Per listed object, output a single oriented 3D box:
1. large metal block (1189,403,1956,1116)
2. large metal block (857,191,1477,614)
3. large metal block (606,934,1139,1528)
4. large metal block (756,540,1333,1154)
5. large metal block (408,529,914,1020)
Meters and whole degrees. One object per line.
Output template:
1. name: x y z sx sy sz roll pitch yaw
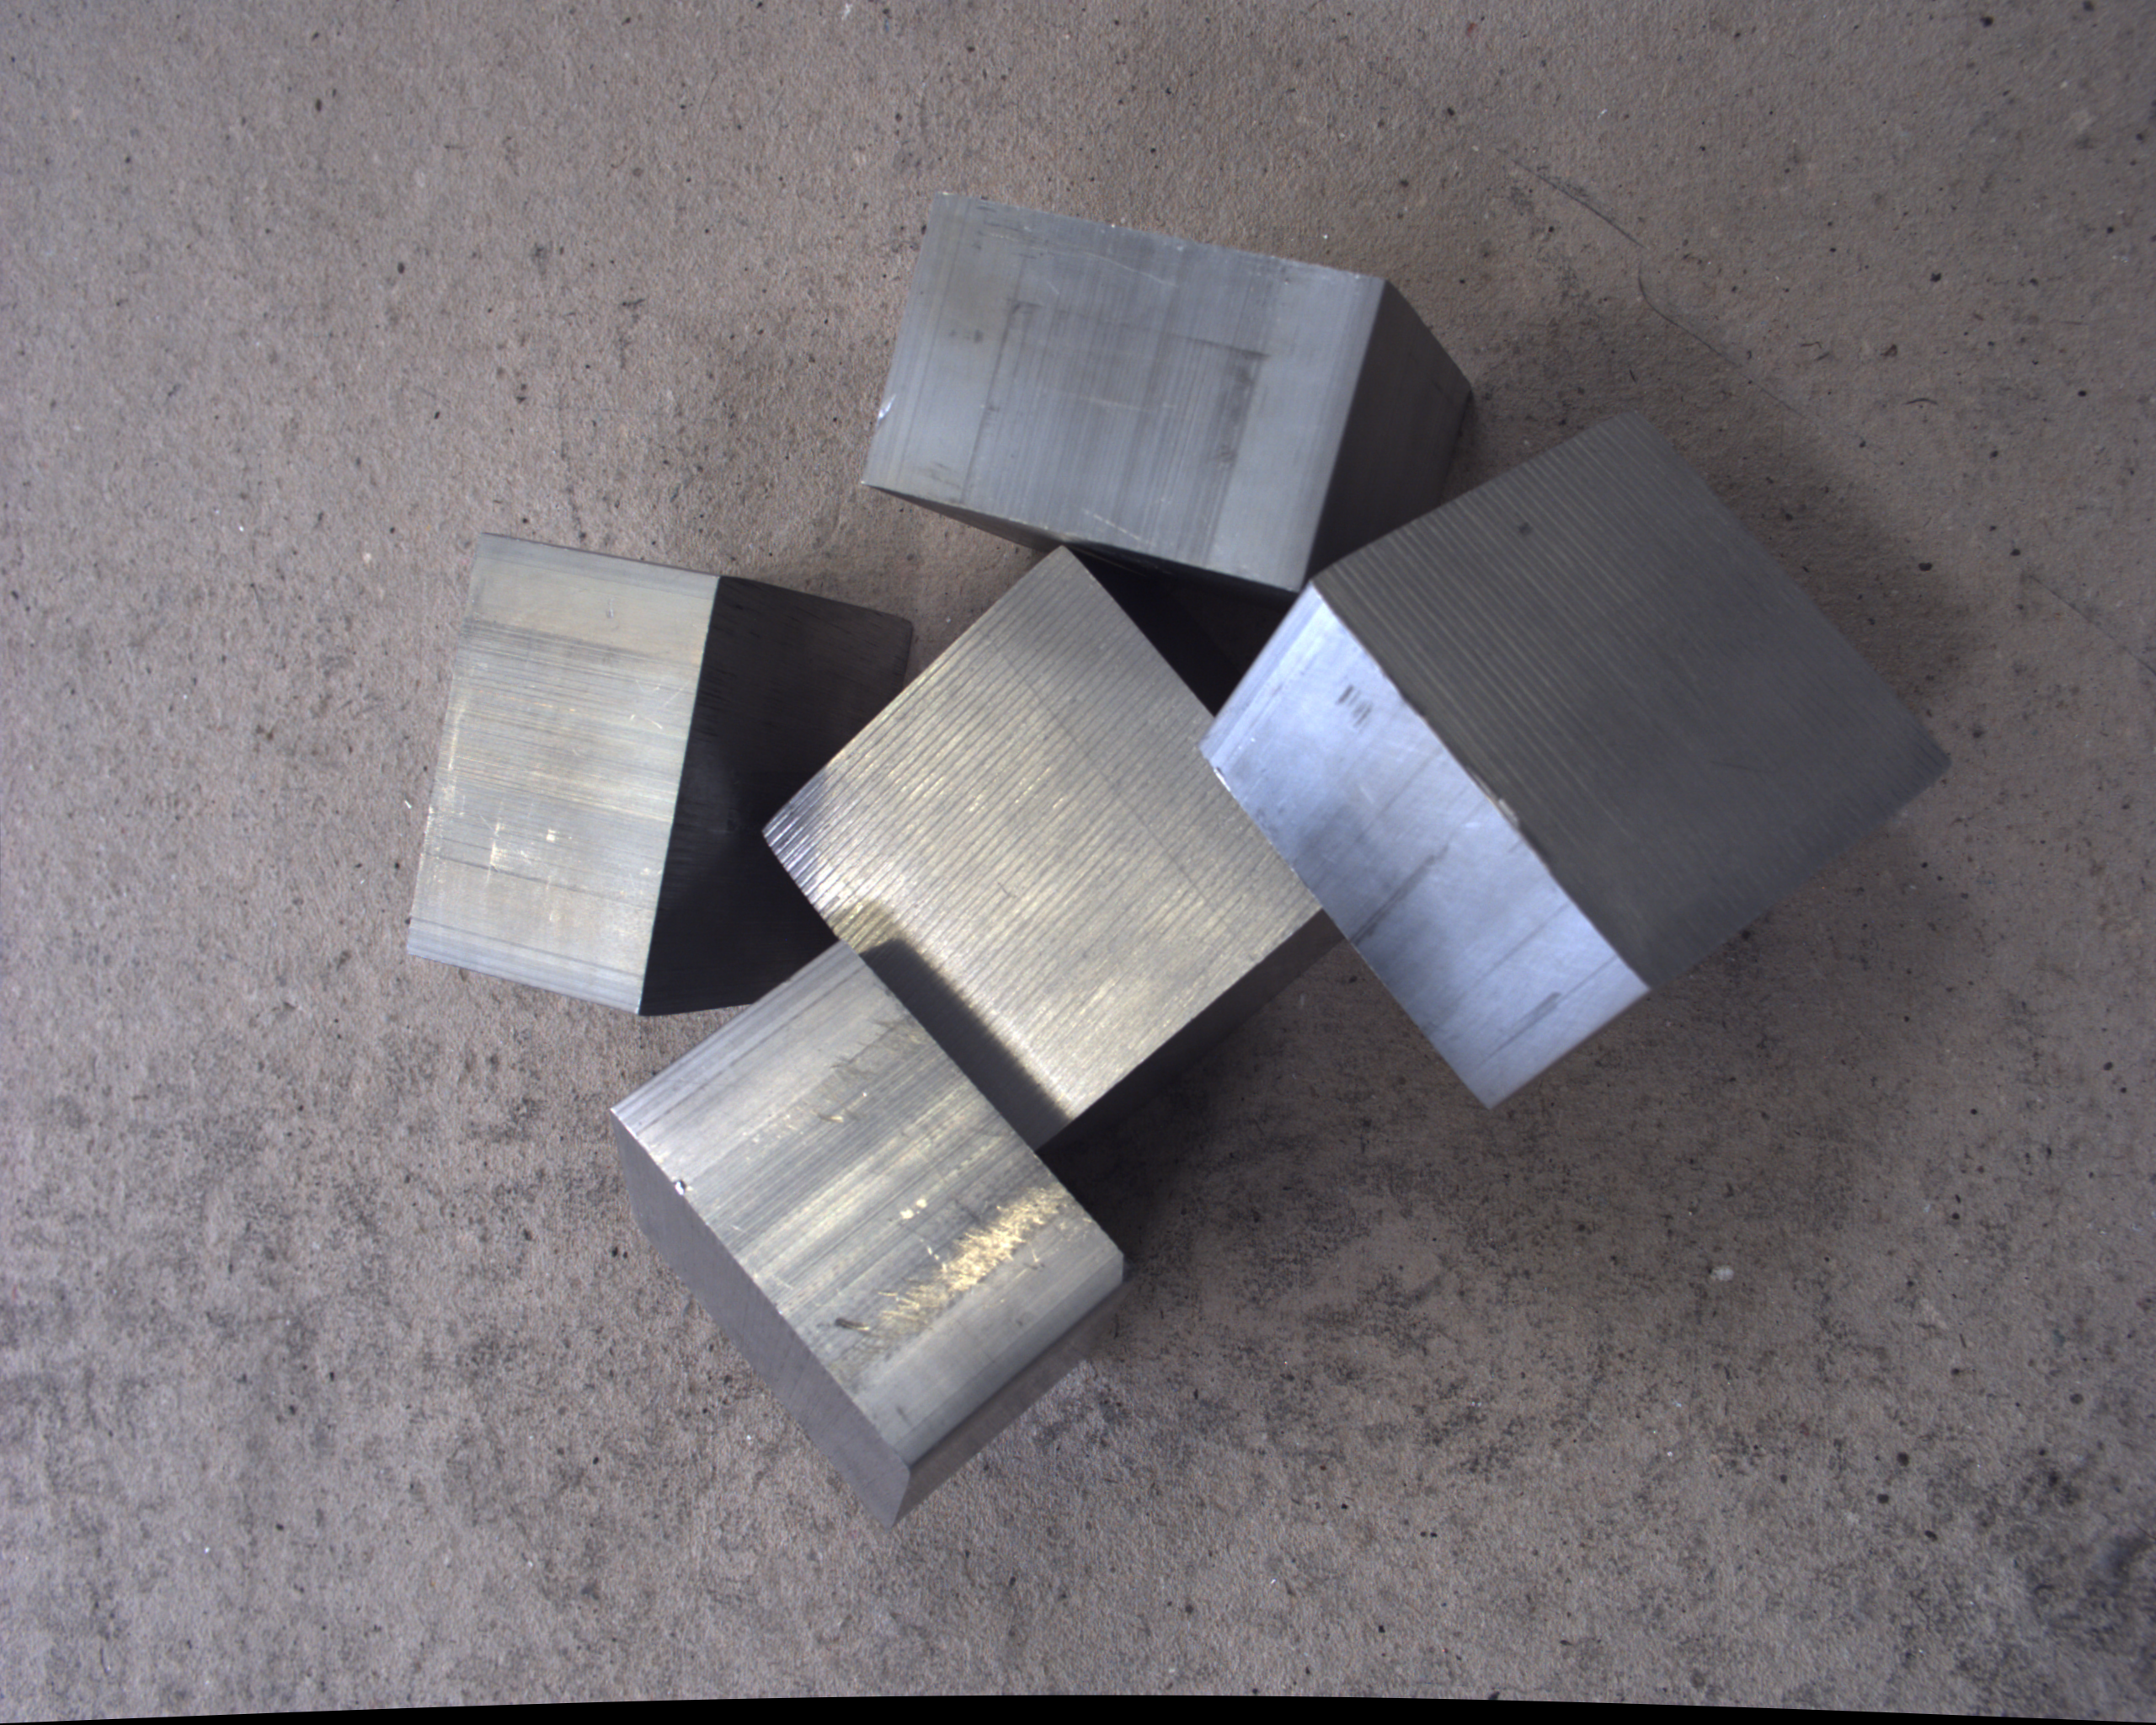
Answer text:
1. large metal block: 0.080 -0.018 0.346 0.080 0.081 0.050 53 149 13
2. large metal block: 0.019 -0.077 0.374 0.080 0.080 0.050 17 96 19
3. large metal block: -0.040 0.072 0.389 0.050 0.080 0.080 -37 75 -22
4. large metal block: 0.002 -0.002 0.394 0.080 0.050 0.080 -43 78 15
5. large metal block: -0.079 -0.017 0.410 0.050 0.080 0.079 13 95 19
